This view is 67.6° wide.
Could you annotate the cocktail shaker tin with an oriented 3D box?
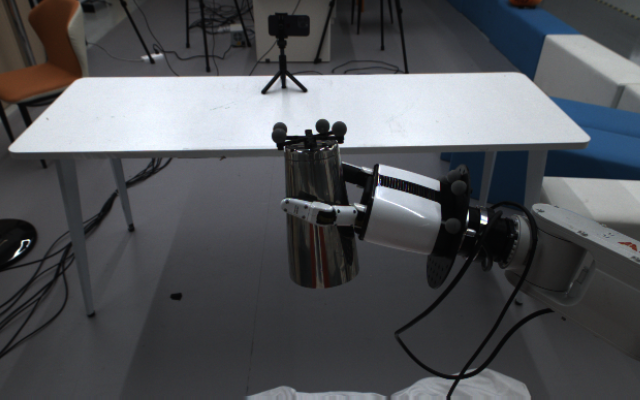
[{"bbox_3d":[-0.002,0.014,0.607,0.093,0.170,0.093,-6,19,2],"label":"cocktail shaker tin"}]
